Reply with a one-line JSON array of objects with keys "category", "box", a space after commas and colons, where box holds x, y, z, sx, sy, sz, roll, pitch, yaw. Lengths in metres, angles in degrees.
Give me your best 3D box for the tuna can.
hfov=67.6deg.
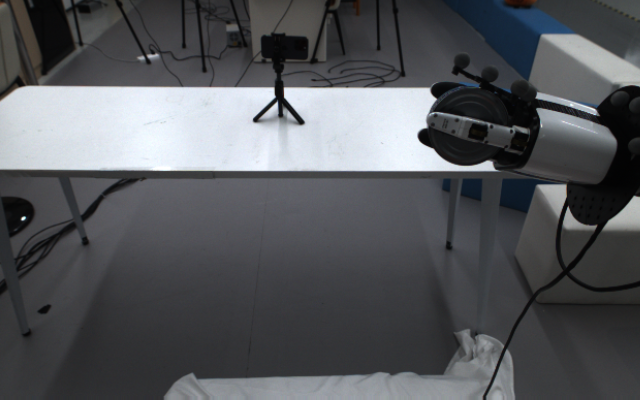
[{"category": "tuna can", "box": [0.166, -0.085, 0.544, 0.085, 0.085, 0.034, 7, 17, 6]}]
